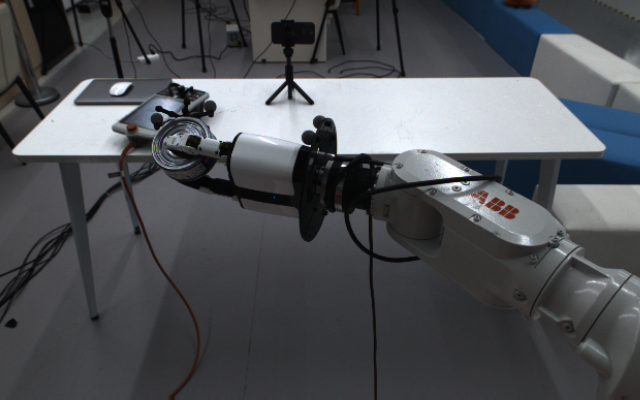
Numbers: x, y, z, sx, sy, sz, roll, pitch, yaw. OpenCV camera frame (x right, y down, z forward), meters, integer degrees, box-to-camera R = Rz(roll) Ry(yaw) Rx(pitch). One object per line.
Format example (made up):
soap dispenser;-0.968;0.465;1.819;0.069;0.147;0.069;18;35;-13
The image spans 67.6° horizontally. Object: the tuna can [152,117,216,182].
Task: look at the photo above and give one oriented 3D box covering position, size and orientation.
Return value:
tuna can;-0.184;-0.071;0.661;0.085;0.034;0.085;-4;68;9
